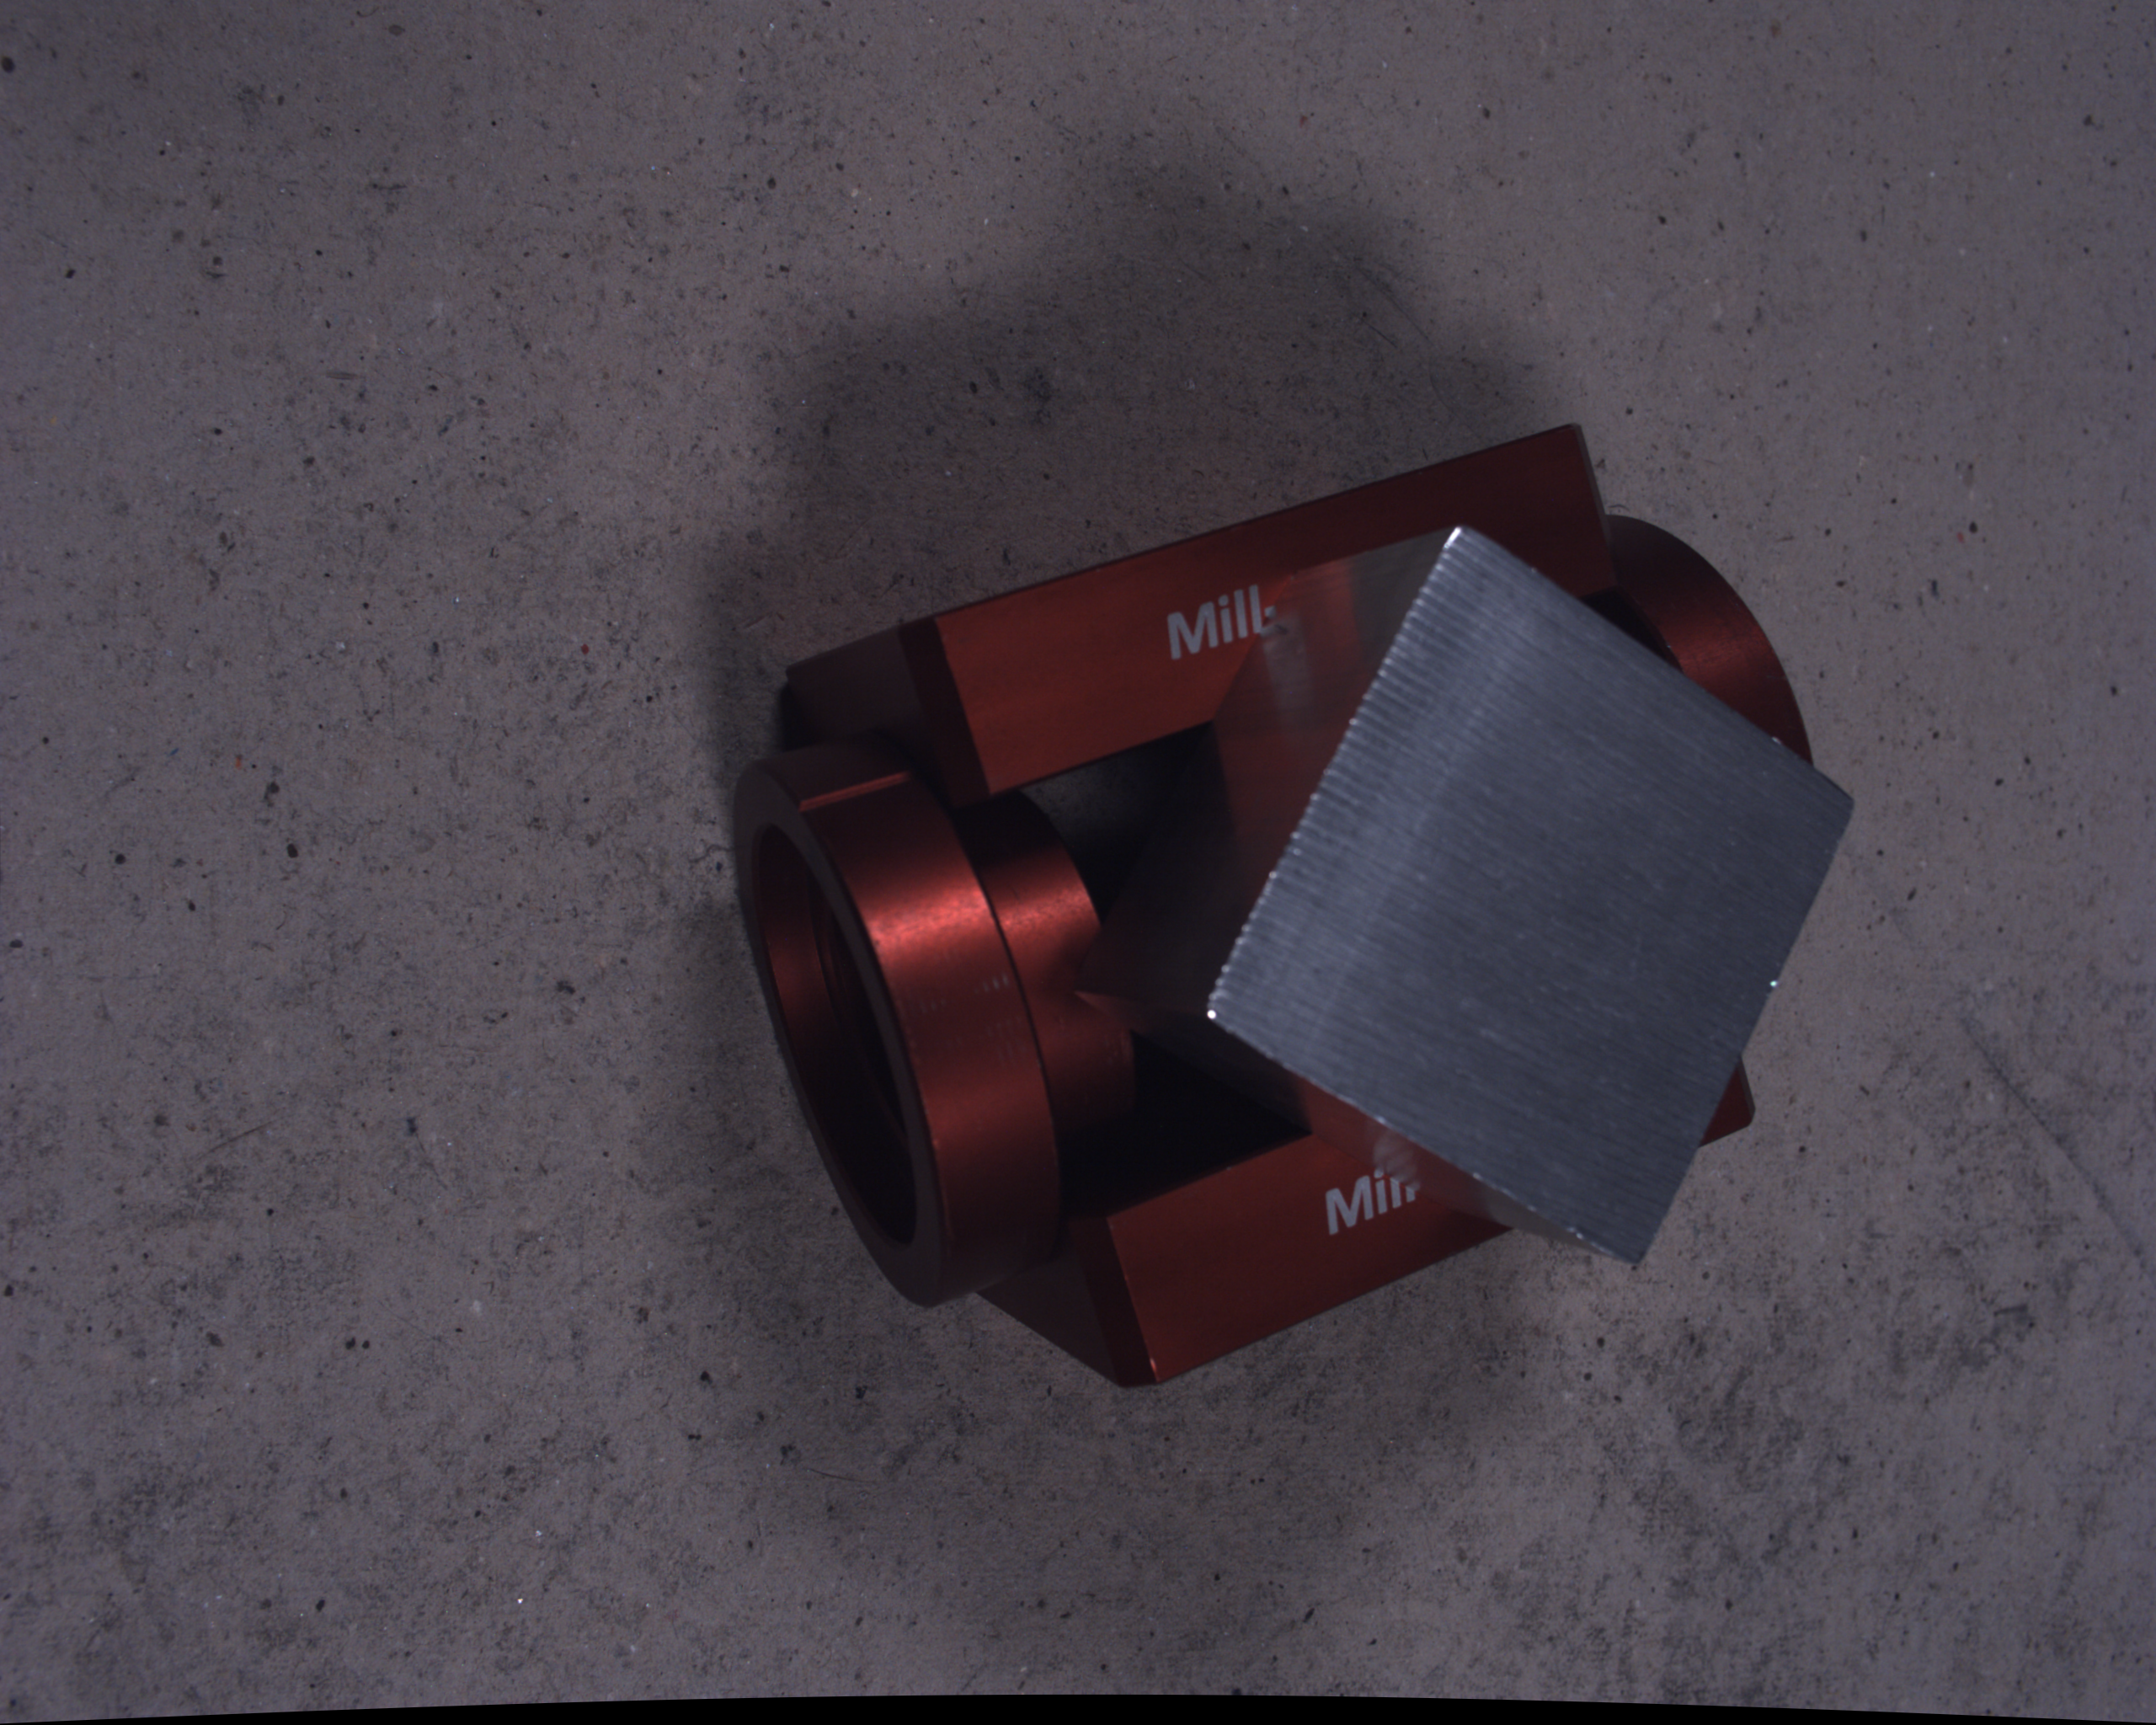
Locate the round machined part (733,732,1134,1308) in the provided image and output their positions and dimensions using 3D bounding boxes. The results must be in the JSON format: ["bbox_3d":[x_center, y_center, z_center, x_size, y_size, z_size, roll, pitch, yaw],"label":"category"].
[{"bbox_3d":[-0.024,0.024,0.363,0.042,0.098,0.097,-17,96,-20],"label":"round machined part"}]

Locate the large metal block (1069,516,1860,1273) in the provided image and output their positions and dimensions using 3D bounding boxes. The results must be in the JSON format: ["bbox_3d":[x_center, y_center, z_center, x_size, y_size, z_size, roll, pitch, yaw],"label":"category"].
[{"bbox_3d":[0.059,0.005,0.322,0.080,0.050,0.080,31,80,-18],"label":"large metal block"}]

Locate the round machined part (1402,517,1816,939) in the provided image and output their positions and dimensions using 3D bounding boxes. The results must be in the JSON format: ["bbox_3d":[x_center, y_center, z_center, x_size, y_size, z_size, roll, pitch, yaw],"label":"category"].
[{"bbox_3d":[0.095,-0.015,0.407,0.042,0.098,0.097,-17,96,-20],"label":"round machined part"}]

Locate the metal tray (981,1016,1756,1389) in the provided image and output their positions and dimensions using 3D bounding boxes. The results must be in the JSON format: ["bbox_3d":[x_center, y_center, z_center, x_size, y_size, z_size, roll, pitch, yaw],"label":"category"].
[{"bbox_3d":[0.047,0.051,0.393,0.131,0.090,0.030,-19,97,-19],"label":"metal tray"}]

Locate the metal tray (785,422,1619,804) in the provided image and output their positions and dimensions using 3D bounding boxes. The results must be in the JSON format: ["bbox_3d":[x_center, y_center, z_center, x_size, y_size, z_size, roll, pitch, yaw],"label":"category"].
[{"bbox_3d":[0.020,-0.044,0.385,0.131,0.090,0.030,-19,97,-19],"label":"metal tray"}]
